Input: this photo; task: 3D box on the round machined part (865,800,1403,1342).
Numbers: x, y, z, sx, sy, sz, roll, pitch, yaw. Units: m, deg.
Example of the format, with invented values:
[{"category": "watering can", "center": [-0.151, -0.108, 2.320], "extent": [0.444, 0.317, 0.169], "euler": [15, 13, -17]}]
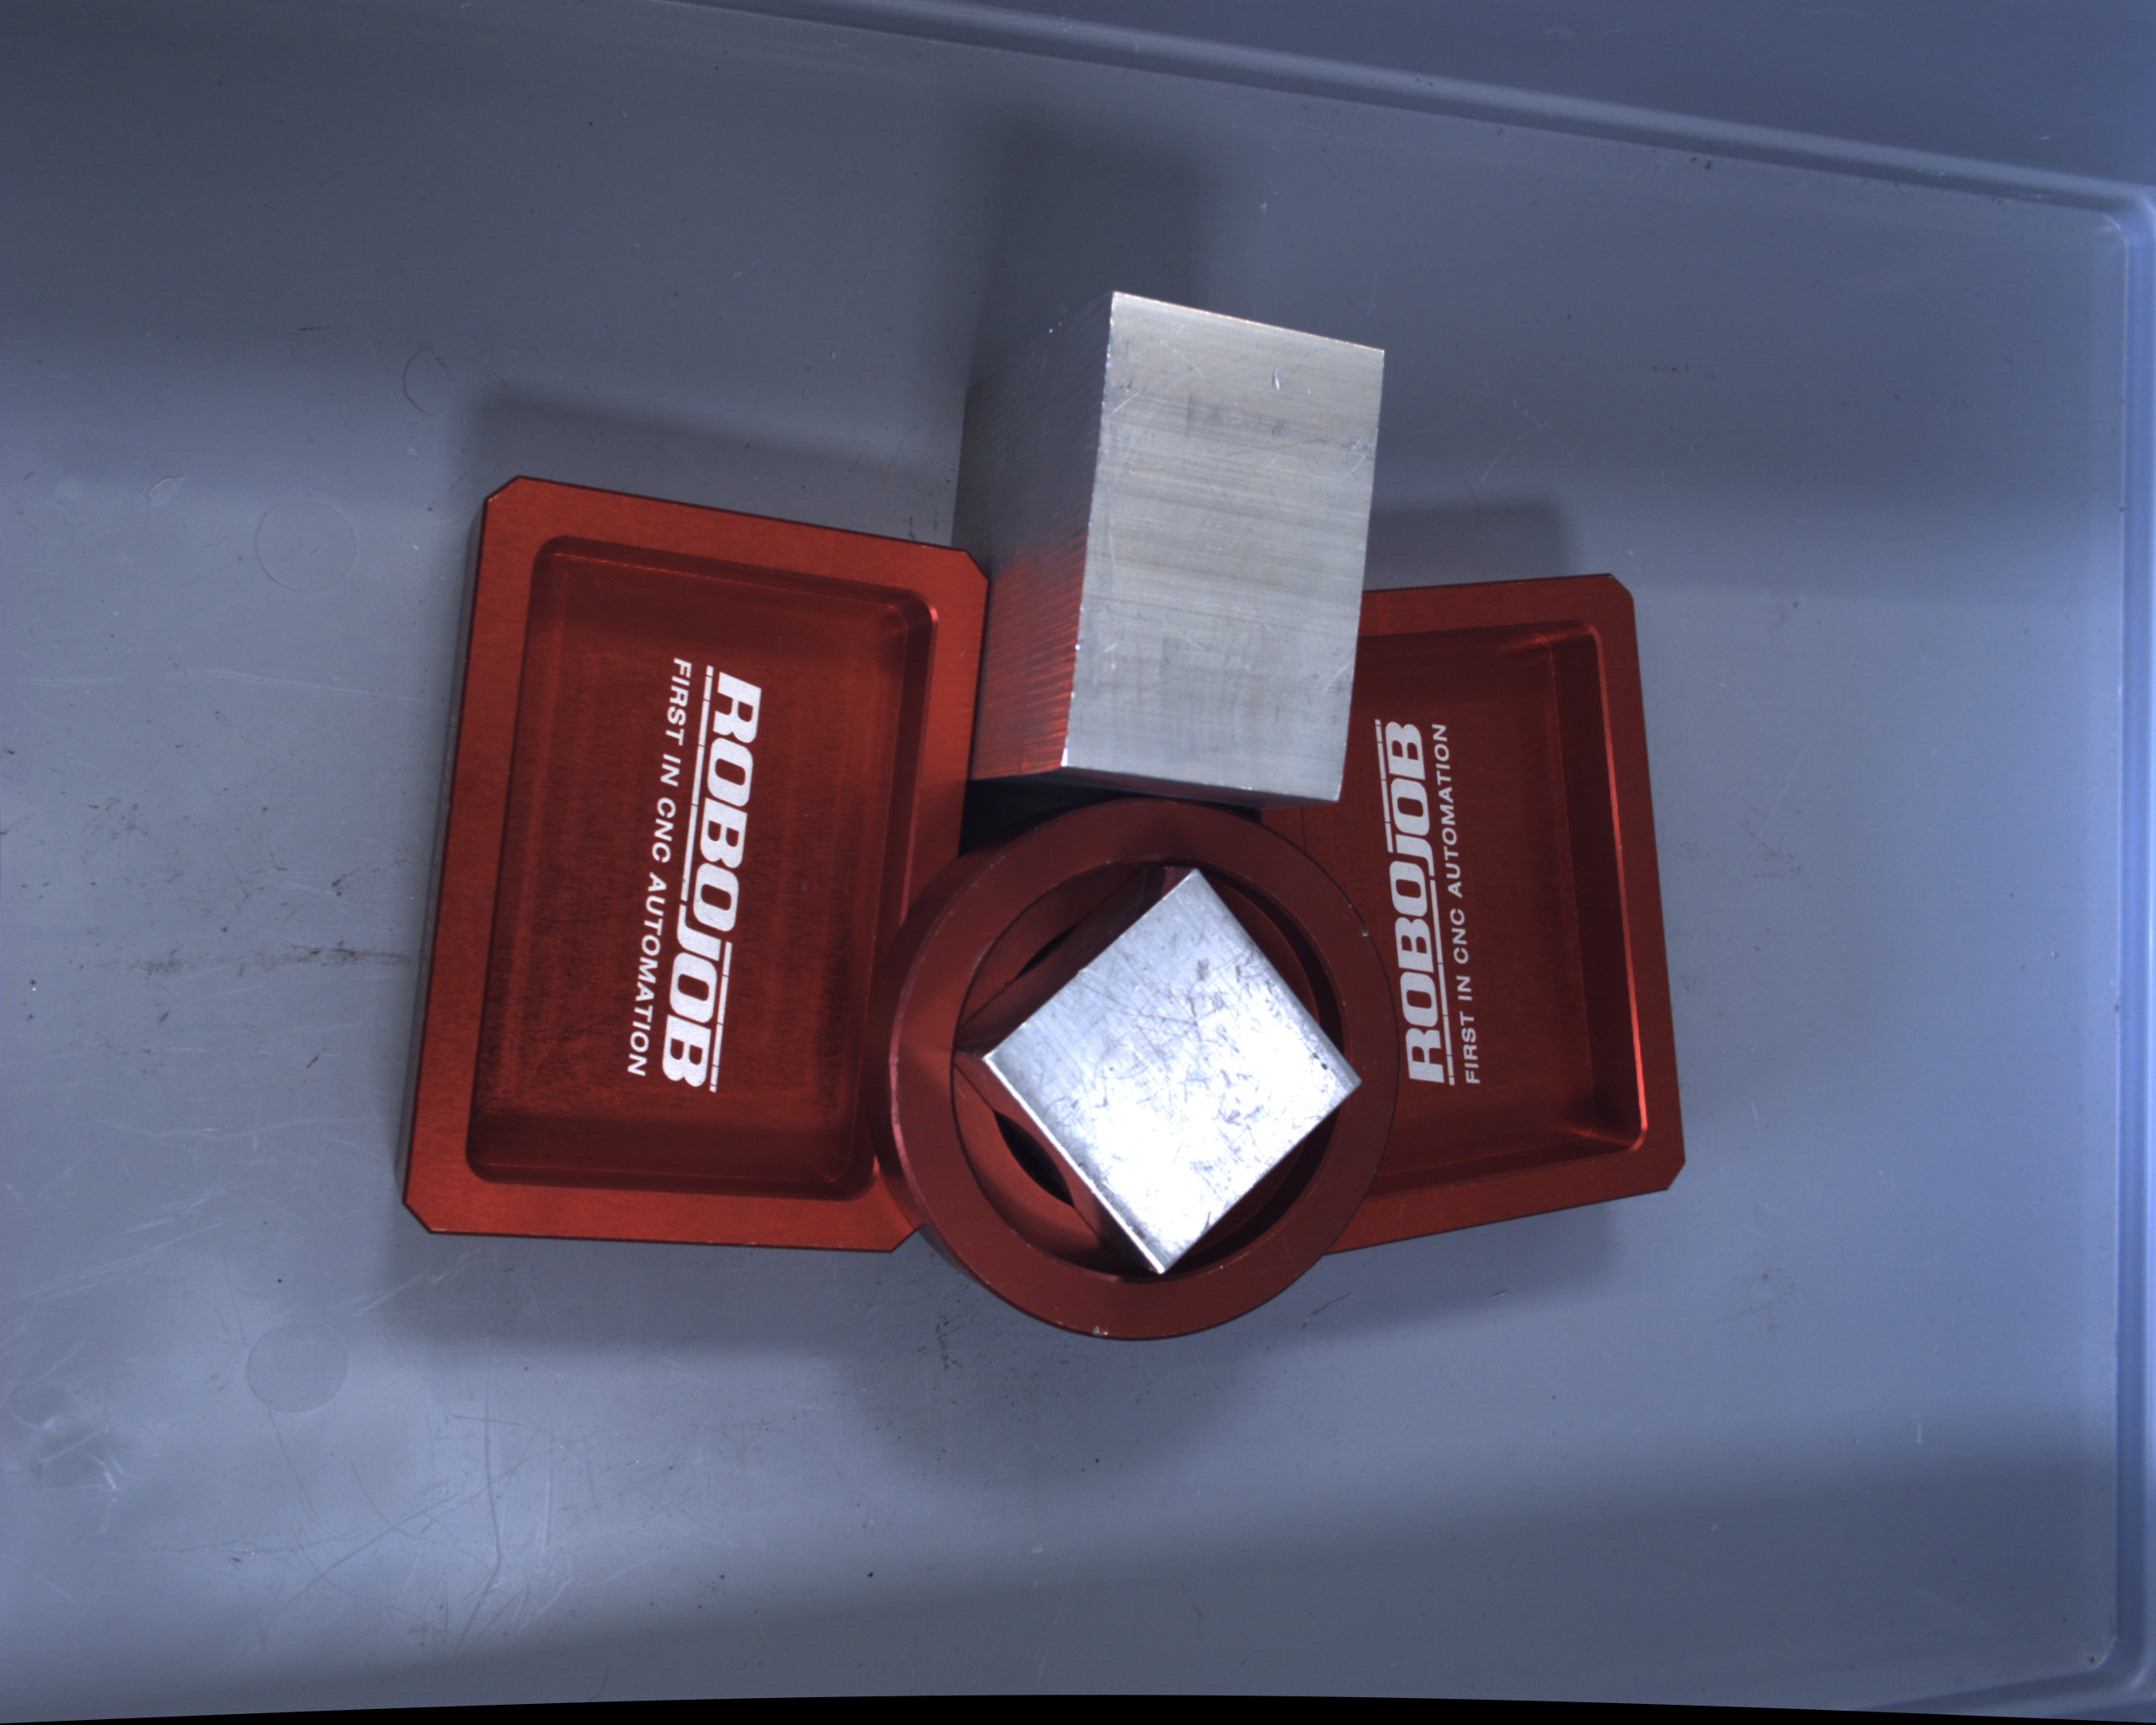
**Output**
[{"category": "round machined part", "center": [0.008, 0.037, 0.392], "extent": [0.099, 0.042, 0.097], "euler": [0, 90, -20]}]

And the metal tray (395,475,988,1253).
[{"category": "metal tray", "center": [-0.070, 0.002, 0.380], "extent": [0.091, 0.030, 0.129], "euler": [7, 88, -20]}]

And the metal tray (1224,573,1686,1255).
[{"category": "metal tray", "center": [0.074, 0.009, 0.433], "extent": [0.091, 0.030, 0.129], "euler": [-7, 93, -20]}]

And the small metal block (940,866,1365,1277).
[{"category": "small metal block", "center": [0.013, 0.036, 0.369], "extent": [0.050, 0.025, 0.050], "euler": [-41, 103, -15]}]

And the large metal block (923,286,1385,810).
[{"category": "large metal block", "center": [0.011, -0.052, 0.383], "extent": [0.050, 0.080, 0.080], "euler": [7, 88, -20]}]
